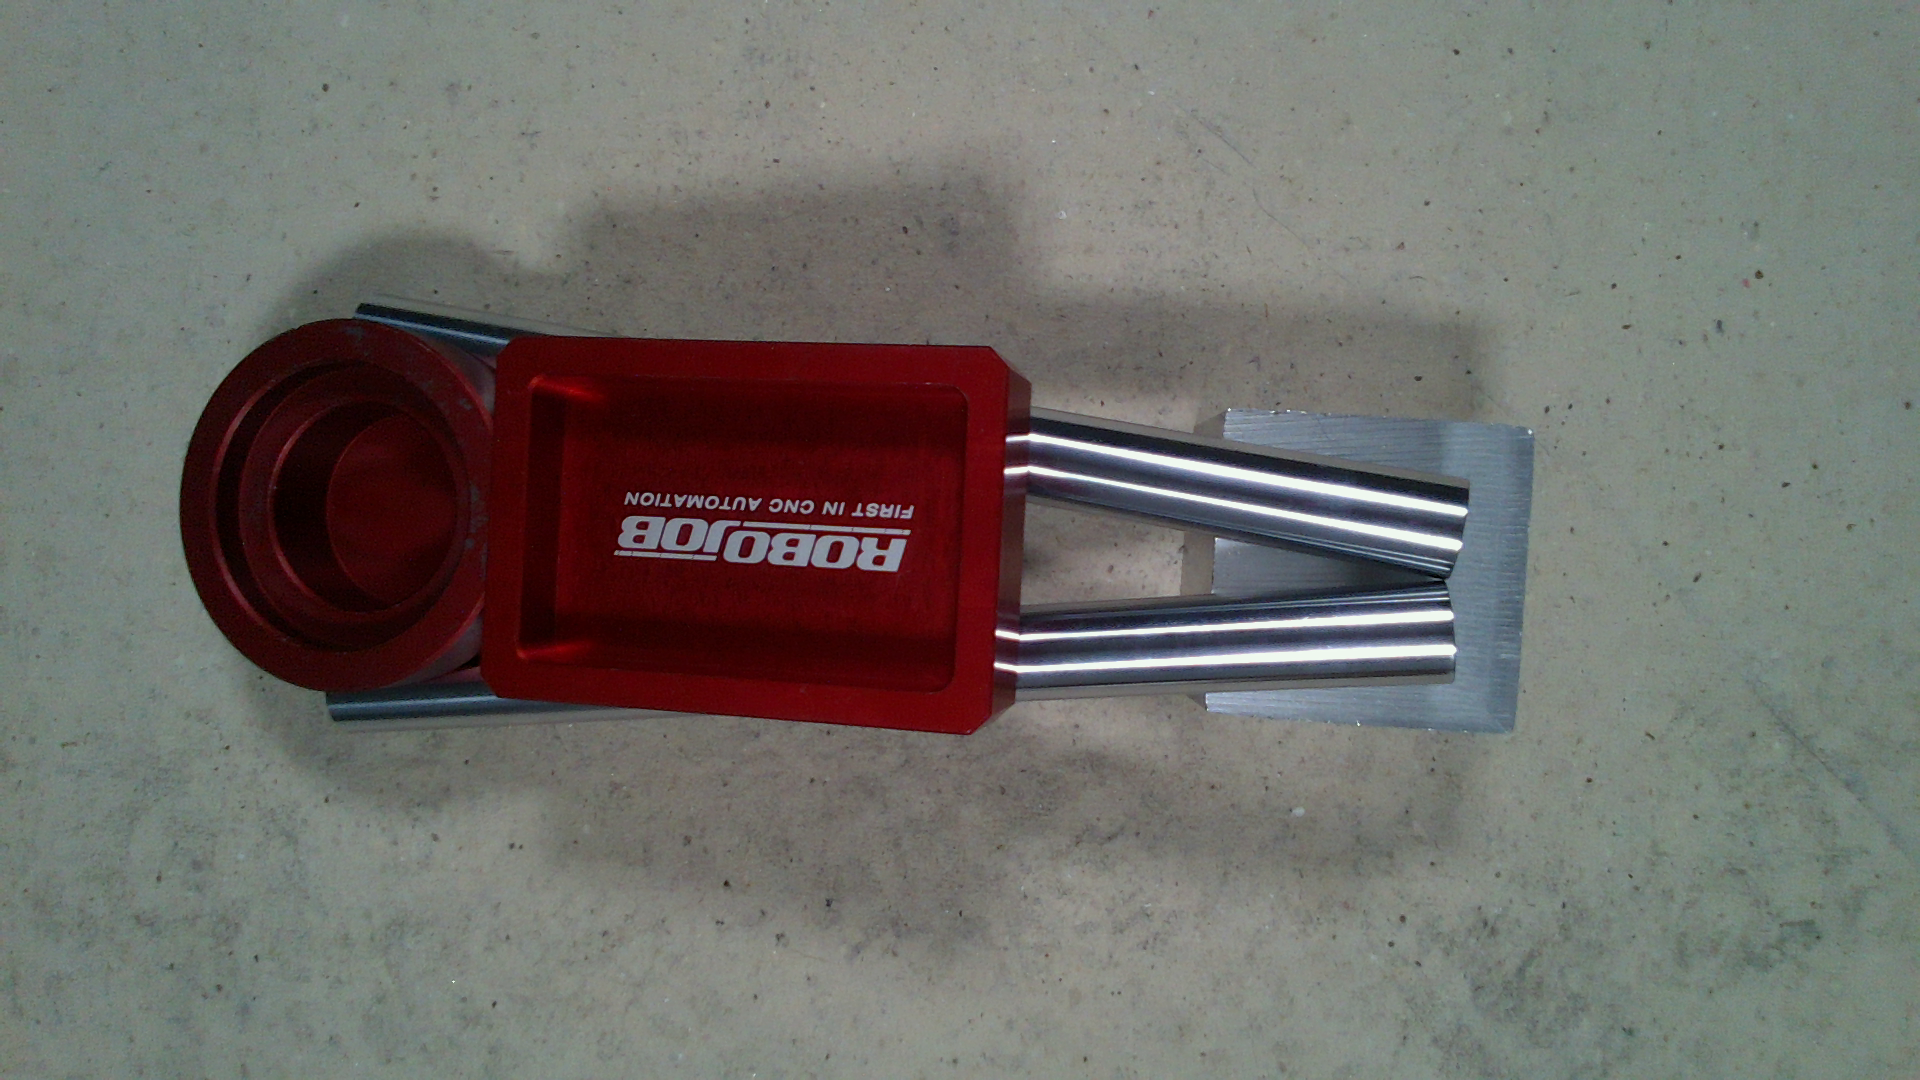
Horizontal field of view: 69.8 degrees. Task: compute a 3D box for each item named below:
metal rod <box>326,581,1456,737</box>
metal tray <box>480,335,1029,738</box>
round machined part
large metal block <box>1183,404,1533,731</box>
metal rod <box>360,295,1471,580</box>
[{"bbox_3d":[-0.028,0.033,0.363,0.299,0.025,0.025,-4,90,13],"label":"metal rod"},{"bbox_3d":[-0.051,-0.003,0.341,0.130,0.030,0.090,3,90,13],"label":"metal tray"},{"bbox_3d":[-0.159,-0.009,0.381,0.098,0.042,0.098,0,90,10],"label":"round machined part"},{"bbox_3d":[0.106,0.007,0.382,0.080,0.050,0.080,4,90,0],"label":"large metal block"},{"bbox_3d":[-0.024,-0.030,0.363,0.299,0.025,0.025,11,90,13],"label":"metal rod"}]
